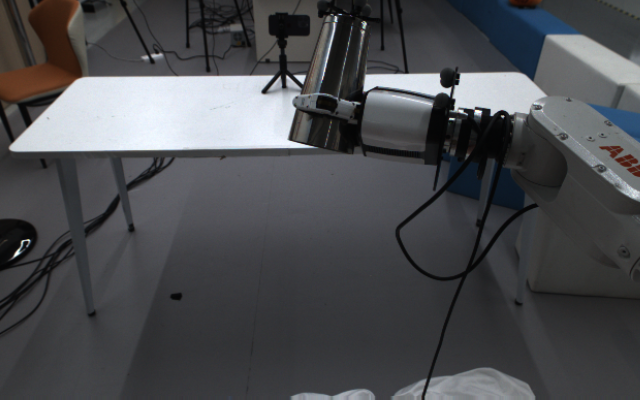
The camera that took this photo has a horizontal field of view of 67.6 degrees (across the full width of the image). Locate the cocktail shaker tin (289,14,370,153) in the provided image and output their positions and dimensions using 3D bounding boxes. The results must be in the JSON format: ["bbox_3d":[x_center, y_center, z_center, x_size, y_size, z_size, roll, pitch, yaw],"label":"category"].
[{"bbox_3d":[0.018,-0.156,0.654,0.093,0.170,0.093,13,4,-1],"label":"cocktail shaker tin"}]
